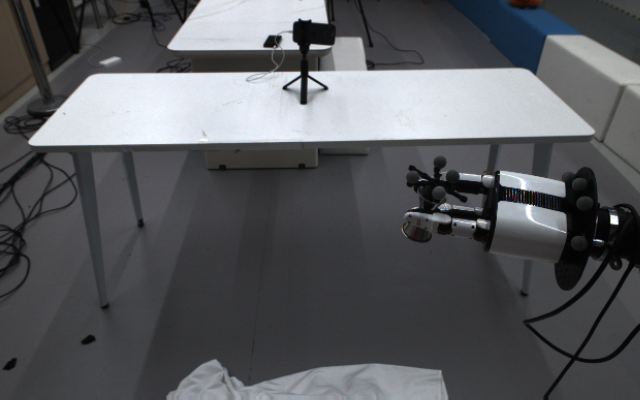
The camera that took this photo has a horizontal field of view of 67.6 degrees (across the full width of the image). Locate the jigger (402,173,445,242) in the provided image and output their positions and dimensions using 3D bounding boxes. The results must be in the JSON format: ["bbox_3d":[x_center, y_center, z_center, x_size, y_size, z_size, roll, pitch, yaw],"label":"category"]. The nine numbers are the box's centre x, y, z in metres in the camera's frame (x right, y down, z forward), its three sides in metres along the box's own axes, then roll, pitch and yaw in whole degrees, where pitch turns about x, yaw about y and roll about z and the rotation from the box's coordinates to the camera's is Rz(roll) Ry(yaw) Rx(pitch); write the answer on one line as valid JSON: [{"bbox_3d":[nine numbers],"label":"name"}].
[{"bbox_3d":[0.141,0.018,0.661,0.043,0.071,0.043,10,35,-7],"label":"jigger"}]
